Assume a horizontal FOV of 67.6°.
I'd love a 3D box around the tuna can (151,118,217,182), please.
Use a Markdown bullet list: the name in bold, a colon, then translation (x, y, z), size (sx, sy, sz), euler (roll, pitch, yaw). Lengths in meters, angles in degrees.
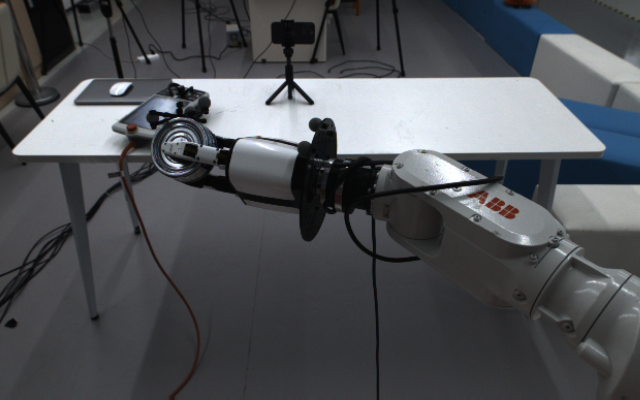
- **tuna can**: translation (-0.184, -0.068, 0.658), size (0.085, 0.085, 0.034), euler (12, -6, 14)
